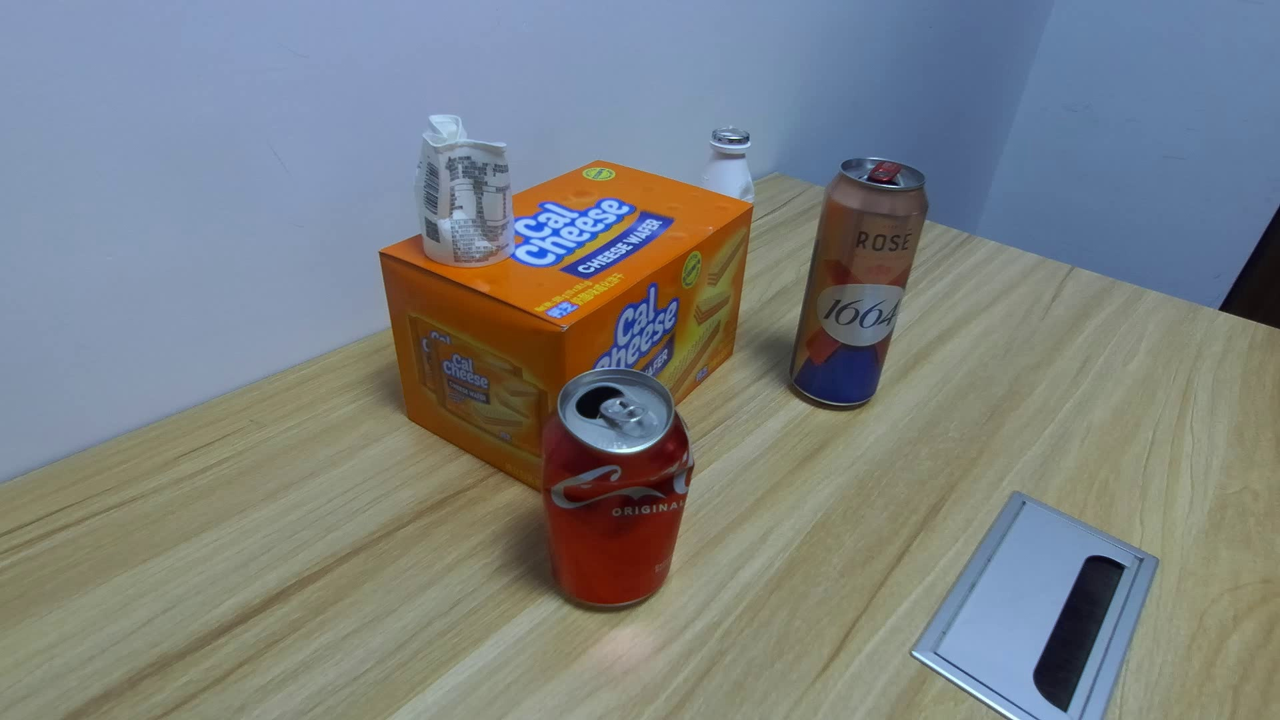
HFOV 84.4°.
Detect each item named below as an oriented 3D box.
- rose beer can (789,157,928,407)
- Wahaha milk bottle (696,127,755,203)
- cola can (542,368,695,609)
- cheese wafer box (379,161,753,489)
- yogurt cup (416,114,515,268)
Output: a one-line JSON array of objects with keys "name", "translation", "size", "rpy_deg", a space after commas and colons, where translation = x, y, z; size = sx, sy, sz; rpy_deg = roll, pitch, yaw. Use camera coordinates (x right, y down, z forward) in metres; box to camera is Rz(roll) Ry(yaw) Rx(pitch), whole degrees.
[{"name": "rose beer can", "translation": [0.150, -0.049, 0.494], "size": [0.069, 0.169, 0.068], "rpy_deg": [3, 33, -2]}, {"name": "Wahaha milk bottle", "translation": [0.072, -0.118, 0.617], "size": [0.053, 0.137, 0.053], "rpy_deg": [2, 37, -1]}, {"name": "cola can", "translation": [-0.011, 0.064, 0.357], "size": [0.072, 0.117, 0.065], "rpy_deg": [0, 34, -3]}, {"name": "cheese wafer box", "translation": [-0.039, -0.036, 0.494], "size": [0.147, 0.129, 0.222], "rpy_deg": [23, 39, 26]}, {"name": "yogurt cup", "translation": [-0.101, -0.096, 0.403], "size": [0.055, 0.072, 0.054], "rpy_deg": [-3, 36, -10]}]
